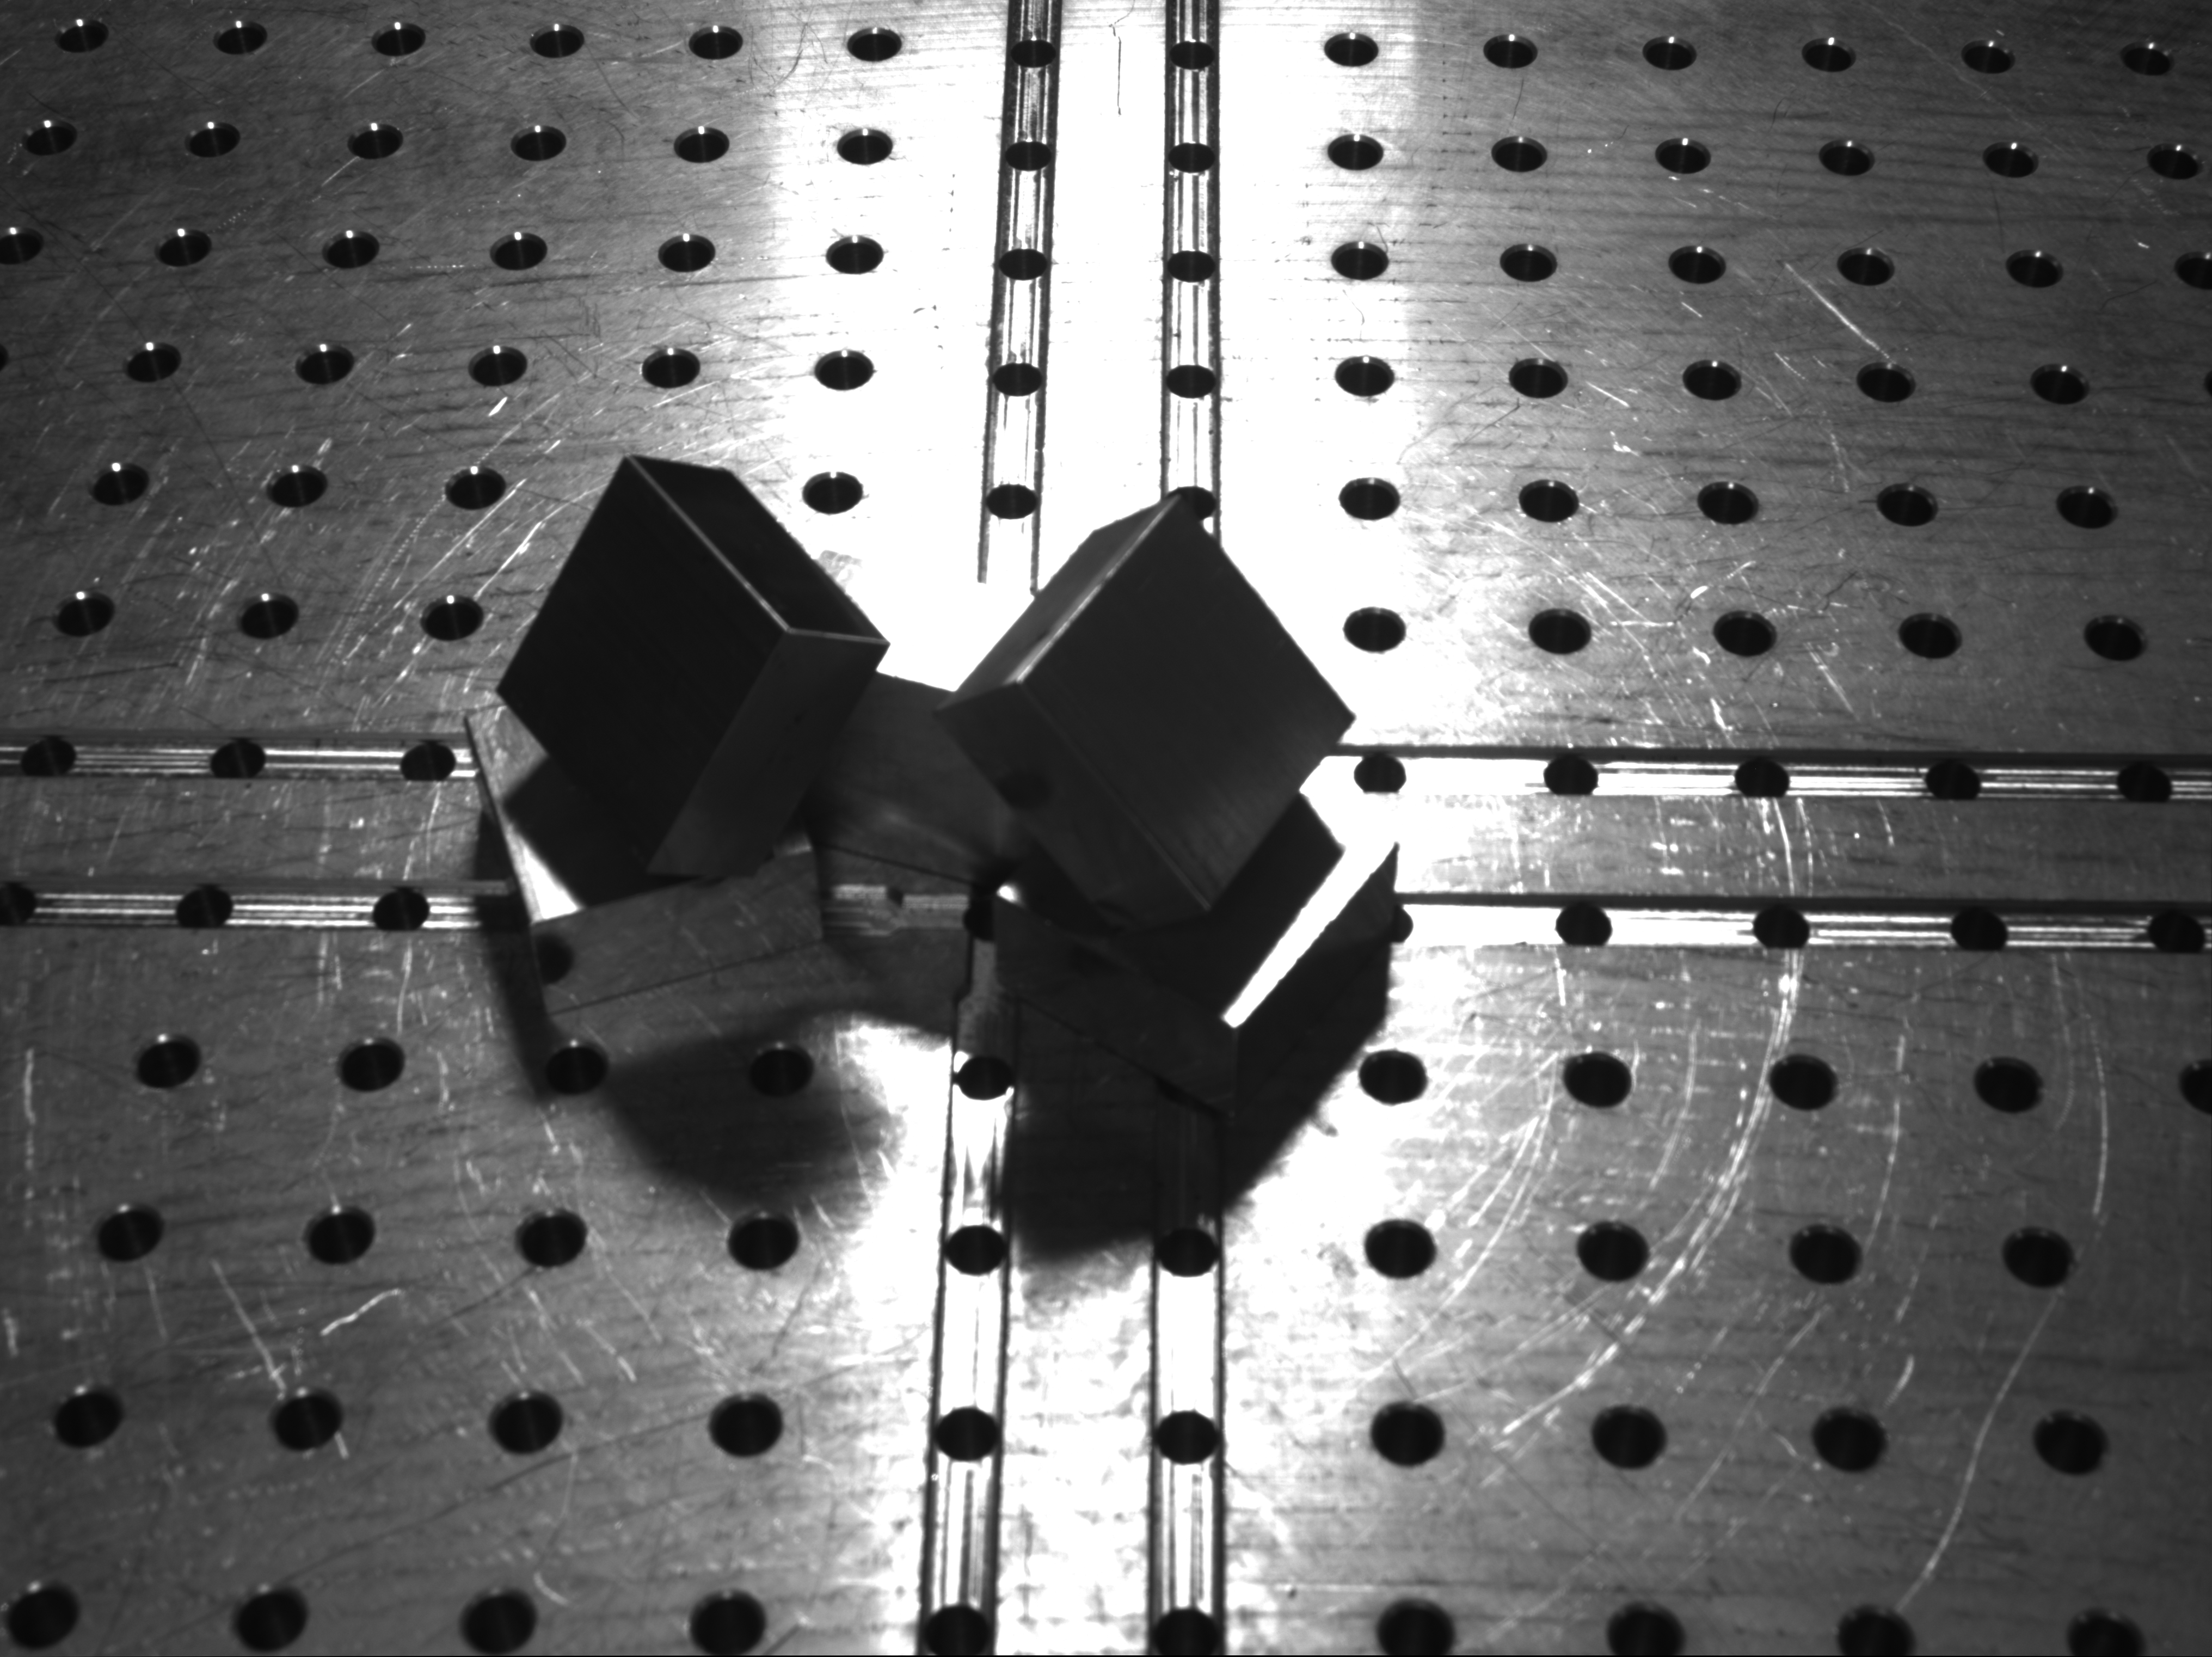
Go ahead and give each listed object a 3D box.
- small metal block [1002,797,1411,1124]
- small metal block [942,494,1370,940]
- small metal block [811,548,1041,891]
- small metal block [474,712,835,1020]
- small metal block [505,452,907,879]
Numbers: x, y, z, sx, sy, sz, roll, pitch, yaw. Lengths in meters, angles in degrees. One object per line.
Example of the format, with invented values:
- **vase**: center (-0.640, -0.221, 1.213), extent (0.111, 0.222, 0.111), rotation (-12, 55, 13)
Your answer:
- **small metal block**: center (0.017, 0.015, 0.633), extent (0.050, 0.025, 0.050), rotation (29, 56, 22)
- **small metal block**: center (0.009, -0.018, 0.610), extent (0.050, 0.025, 0.050), rotation (50, 55, -17)
- **small metal block**: center (-0.029, -0.018, 0.644), extent (0.050, 0.050, 0.025), rotation (15, 51, 12)
- **small metal block**: center (-0.080, 0.001, 0.645), extent (0.050, 0.025, 0.050), rotation (-15, 51, -12)
- **small metal block**: center (-0.068, -0.027, 0.615), extent (0.025, 0.050, 0.050), rotation (4, 35, -51)
